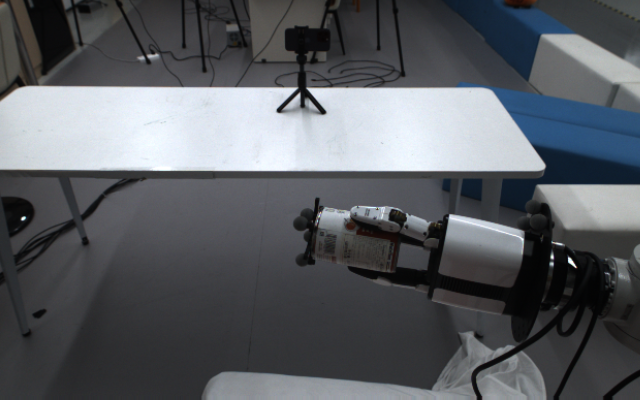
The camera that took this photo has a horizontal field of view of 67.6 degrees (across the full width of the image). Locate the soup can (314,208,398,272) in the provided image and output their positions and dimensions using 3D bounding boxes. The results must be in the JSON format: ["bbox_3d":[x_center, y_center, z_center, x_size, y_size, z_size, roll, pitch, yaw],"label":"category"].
[{"bbox_3d":[0.049,0.048,0.590,0.101,0.067,0.067,9,35,9],"label":"soup can"}]
